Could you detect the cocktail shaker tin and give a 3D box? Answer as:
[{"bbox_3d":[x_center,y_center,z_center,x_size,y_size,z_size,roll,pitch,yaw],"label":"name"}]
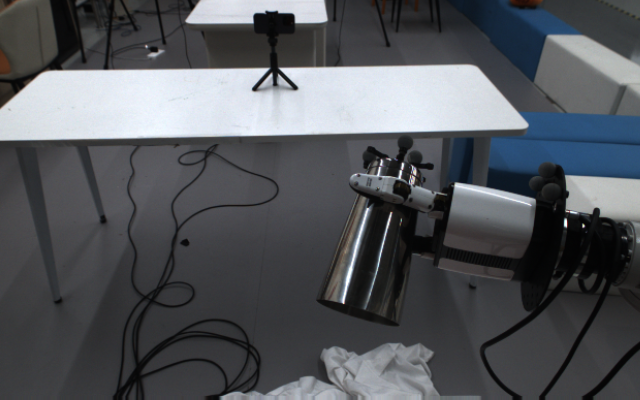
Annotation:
[{"bbox_3d":[0.065,0.040,0.541,0.093,0.093,0.170,13,71,15],"label":"cocktail shaker tin"}]
